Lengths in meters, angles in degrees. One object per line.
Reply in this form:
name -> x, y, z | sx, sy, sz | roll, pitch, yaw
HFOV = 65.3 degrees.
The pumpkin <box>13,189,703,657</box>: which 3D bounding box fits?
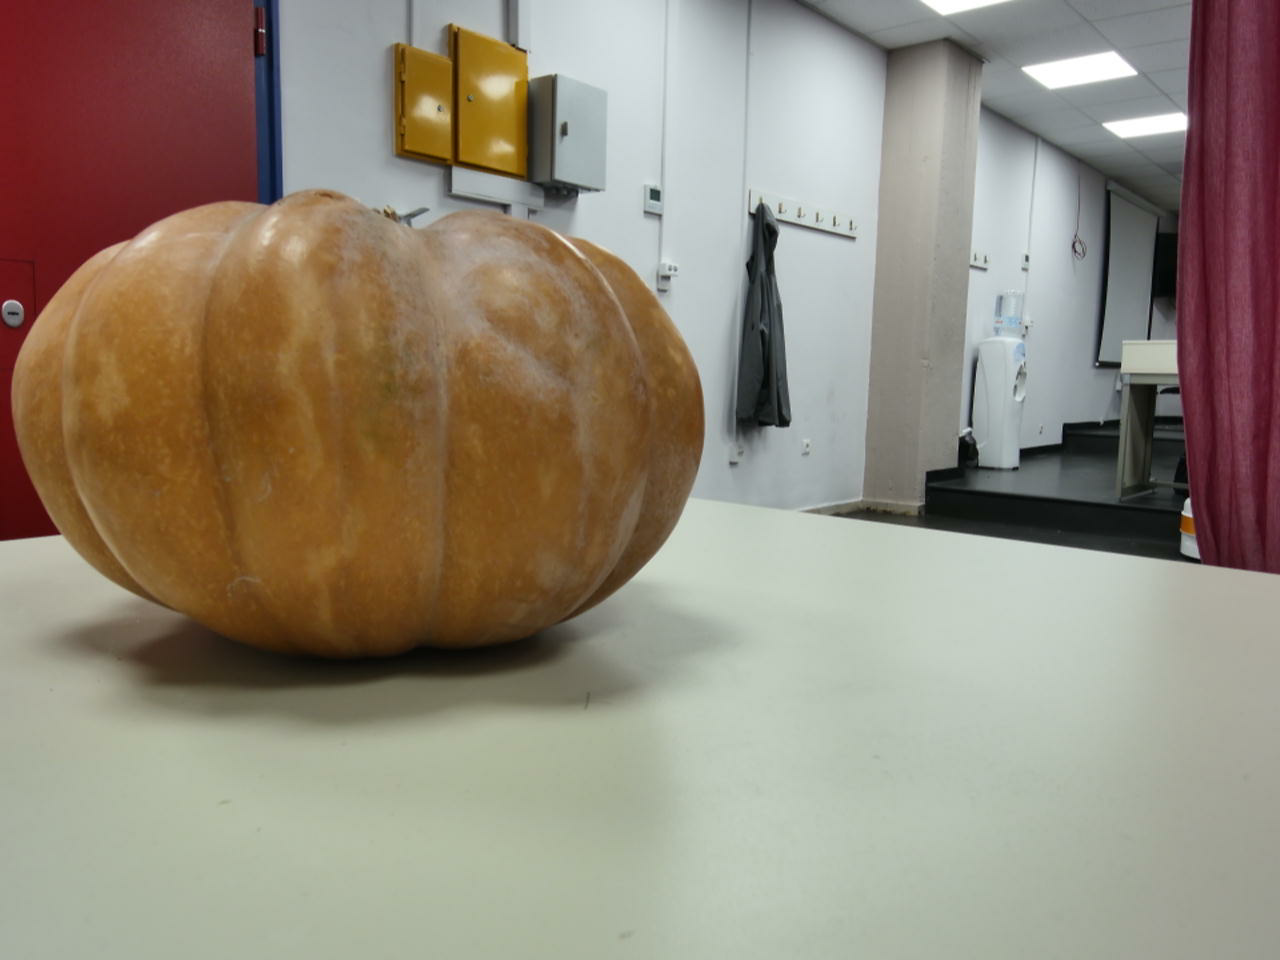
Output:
pumpkin -> -0.112, -0.023, 0.429 | 0.277, 0.181, 0.277 | 0, 4, 0
